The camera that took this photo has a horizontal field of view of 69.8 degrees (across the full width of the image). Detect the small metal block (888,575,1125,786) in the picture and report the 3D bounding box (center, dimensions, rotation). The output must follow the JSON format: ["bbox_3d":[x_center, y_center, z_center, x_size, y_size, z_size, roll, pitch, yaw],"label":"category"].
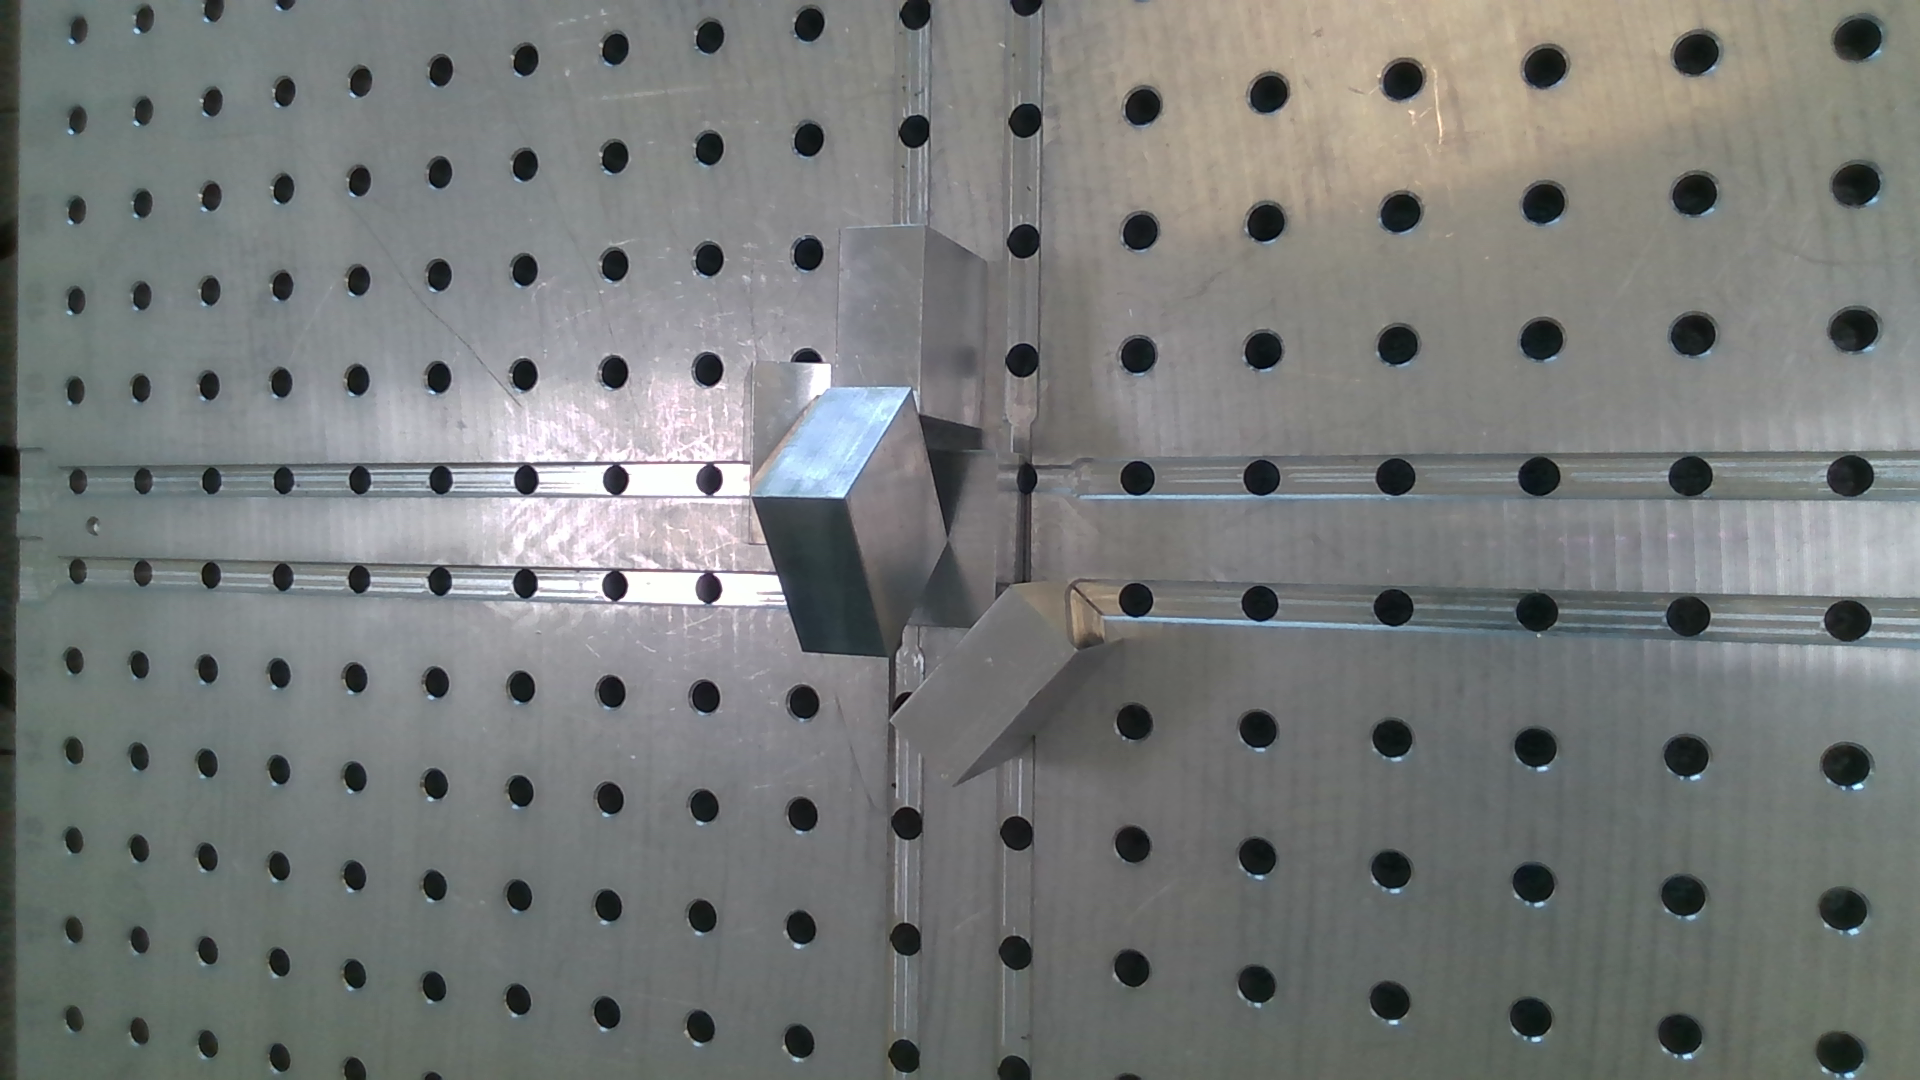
[{"bbox_3d":[0.014,0.037,0.378,0.025,0.050,0.050,45,104,14],"label":"small metal block"}]

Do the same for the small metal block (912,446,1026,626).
[{"bbox_3d":[-0.009,-0.002,0.399,0.050,0.025,0.050,2,92,20],"label":"small metal block"}]

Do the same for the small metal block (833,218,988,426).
[{"bbox_3d":[-0.013,-0.059,0.387,0.025,0.050,0.050,2,90,21],"label":"small metal block"}]

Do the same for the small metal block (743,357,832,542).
[{"bbox_3d":[-0.050,-0.024,0.398,0.025,0.050,0.050,1,90,-12],"label":"small metal block"}]

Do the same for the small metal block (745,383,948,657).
[{"bbox_3d":[-0.027,-0.006,0.355,0.025,0.050,0.050,3,128,20],"label":"small metal block"}]
